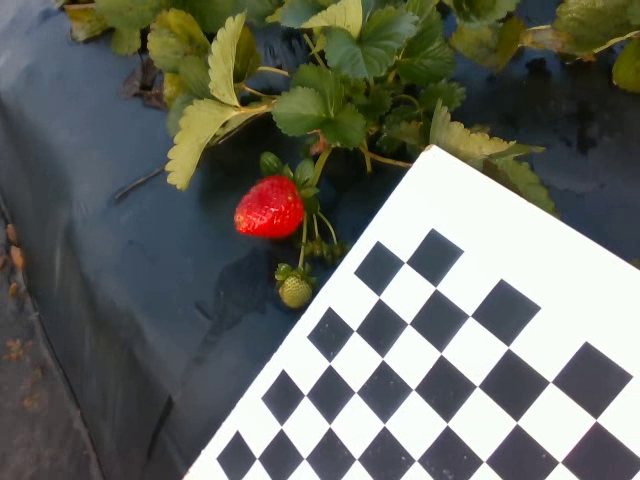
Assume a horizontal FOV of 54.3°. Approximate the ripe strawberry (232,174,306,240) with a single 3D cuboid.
[{"bbox_3d":[-0.040,-0.018,0.426,0.043,0.052,0.057,8,19,43],"label":"ripe strawberry"}]
